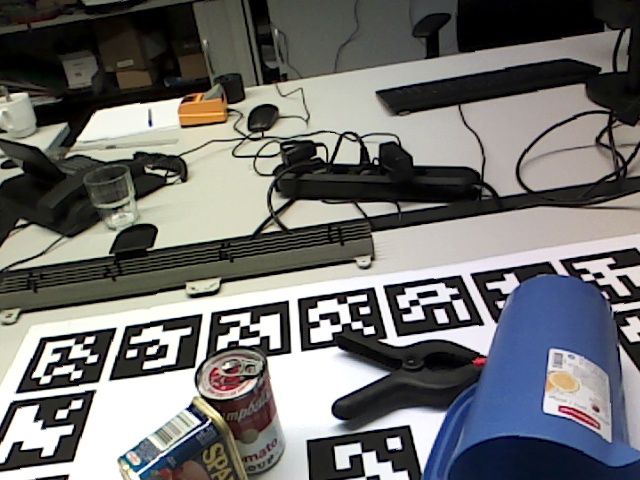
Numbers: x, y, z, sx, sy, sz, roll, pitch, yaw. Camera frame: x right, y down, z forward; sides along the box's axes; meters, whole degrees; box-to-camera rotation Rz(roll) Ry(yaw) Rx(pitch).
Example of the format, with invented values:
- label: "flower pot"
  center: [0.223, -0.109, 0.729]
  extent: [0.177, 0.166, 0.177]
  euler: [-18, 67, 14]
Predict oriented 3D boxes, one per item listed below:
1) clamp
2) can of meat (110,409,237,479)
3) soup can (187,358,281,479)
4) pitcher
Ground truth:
- label: "clamp"
  center: [0.076, 0.154, 0.660]
  extent: [0.165, 0.036, 0.122]
  euler: [-5, 27, 0]
- label: "can of meat"
  center: [-0.122, 0.212, 0.531]
  extent: [0.083, 0.101, 0.058]
  euler: [-33, 39, -28]
- label: "soup can"
  center: [-0.080, 0.173, 0.592]
  extent: [0.068, 0.101, 0.068]
  euler: [-9, 33, 5]
- label: "pitcher"
  center: [0.187, 0.142, 0.532]
  extent: [0.190, 0.133, 0.242]
  euler: [-19, 17, 29]
